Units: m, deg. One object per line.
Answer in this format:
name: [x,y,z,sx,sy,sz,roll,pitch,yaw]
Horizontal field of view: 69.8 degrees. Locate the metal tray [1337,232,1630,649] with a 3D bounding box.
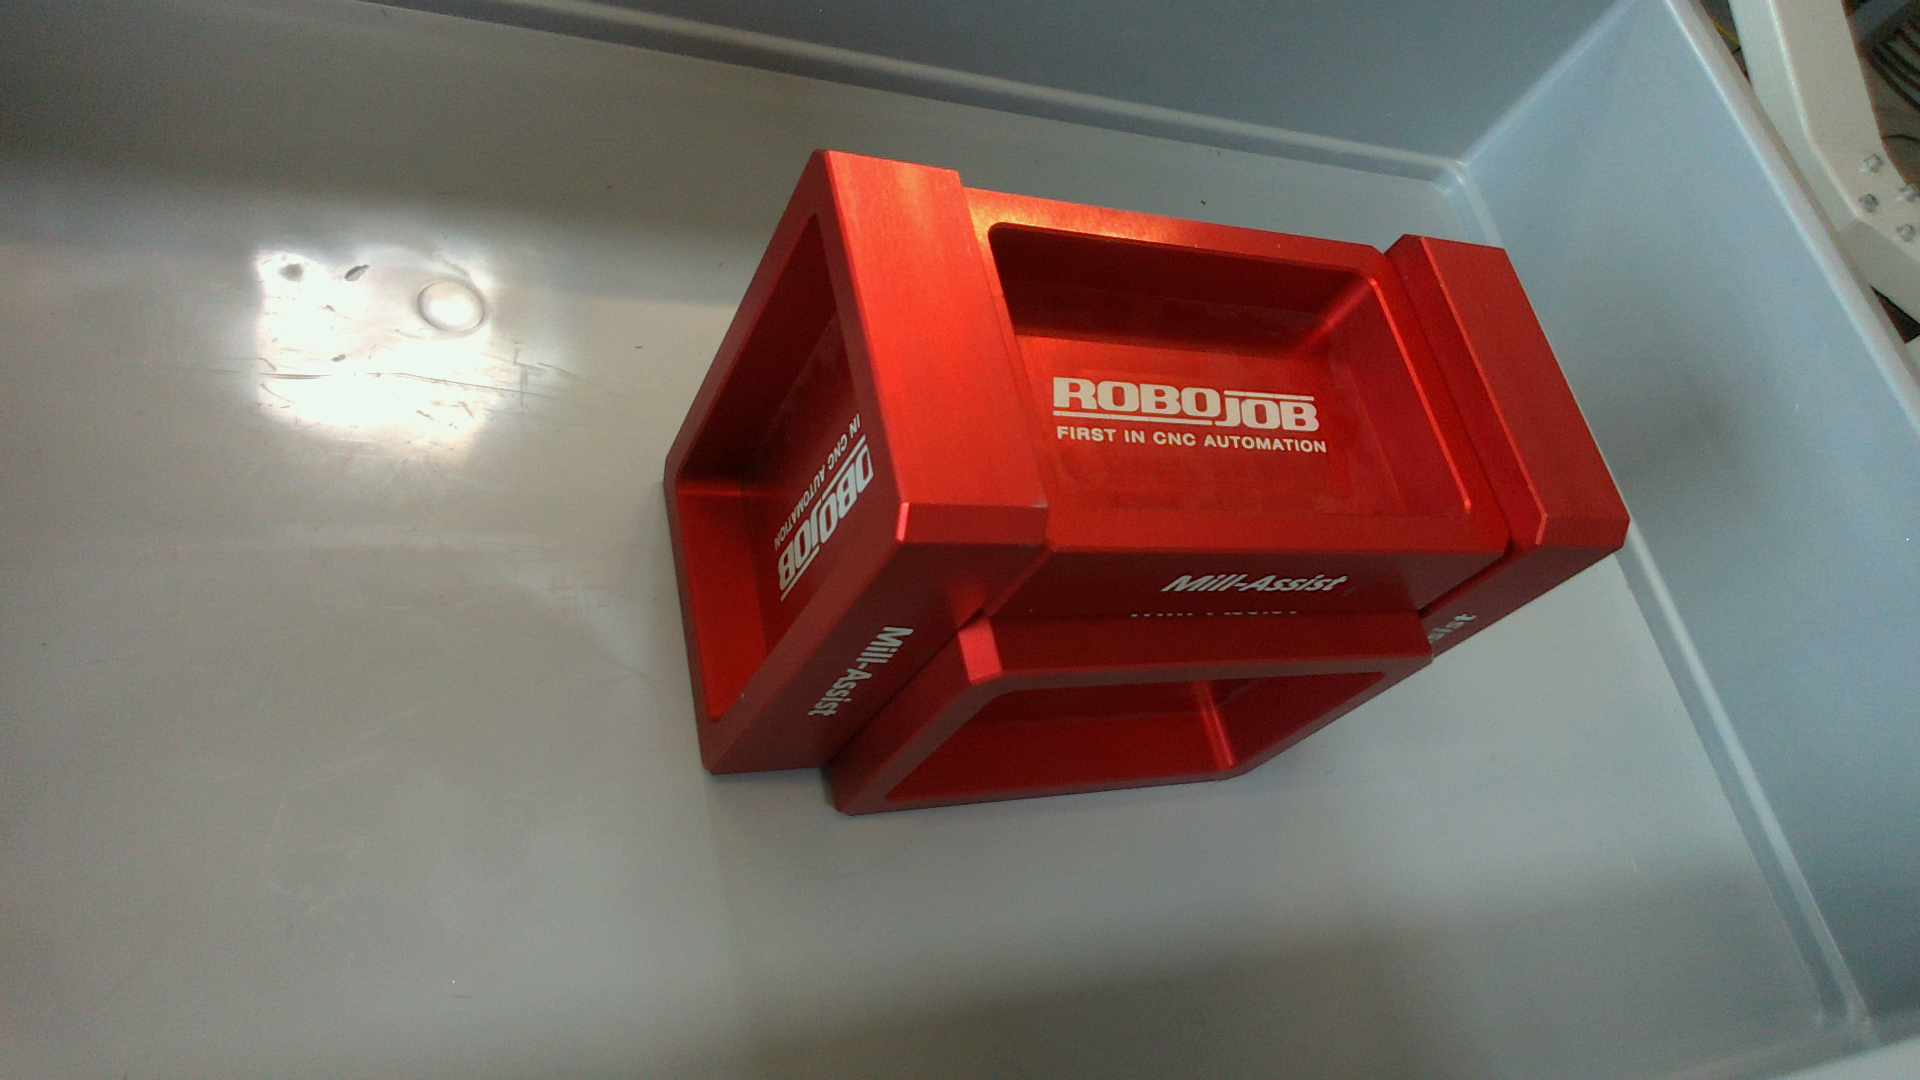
metal tray: [0.111,-0.011,0.386,0.030,0.130,0.090,1,62,-28]

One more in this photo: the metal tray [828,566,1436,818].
metal tray: [0.040,0.035,0.344,0.130,0.090,0.030,0,61,-28]

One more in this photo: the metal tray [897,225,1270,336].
metal tray: [0.021,-0.044,0.383,0.130,0.090,0.030,0,62,-28]

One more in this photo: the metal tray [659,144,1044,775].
metal tray: [-0.033,-0.011,0.310,0.030,0.130,0.090,1,62,-28]

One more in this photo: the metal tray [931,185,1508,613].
metal tray: [0.055,-0.030,0.317,0.130,0.030,0.090,1,61,-28]
